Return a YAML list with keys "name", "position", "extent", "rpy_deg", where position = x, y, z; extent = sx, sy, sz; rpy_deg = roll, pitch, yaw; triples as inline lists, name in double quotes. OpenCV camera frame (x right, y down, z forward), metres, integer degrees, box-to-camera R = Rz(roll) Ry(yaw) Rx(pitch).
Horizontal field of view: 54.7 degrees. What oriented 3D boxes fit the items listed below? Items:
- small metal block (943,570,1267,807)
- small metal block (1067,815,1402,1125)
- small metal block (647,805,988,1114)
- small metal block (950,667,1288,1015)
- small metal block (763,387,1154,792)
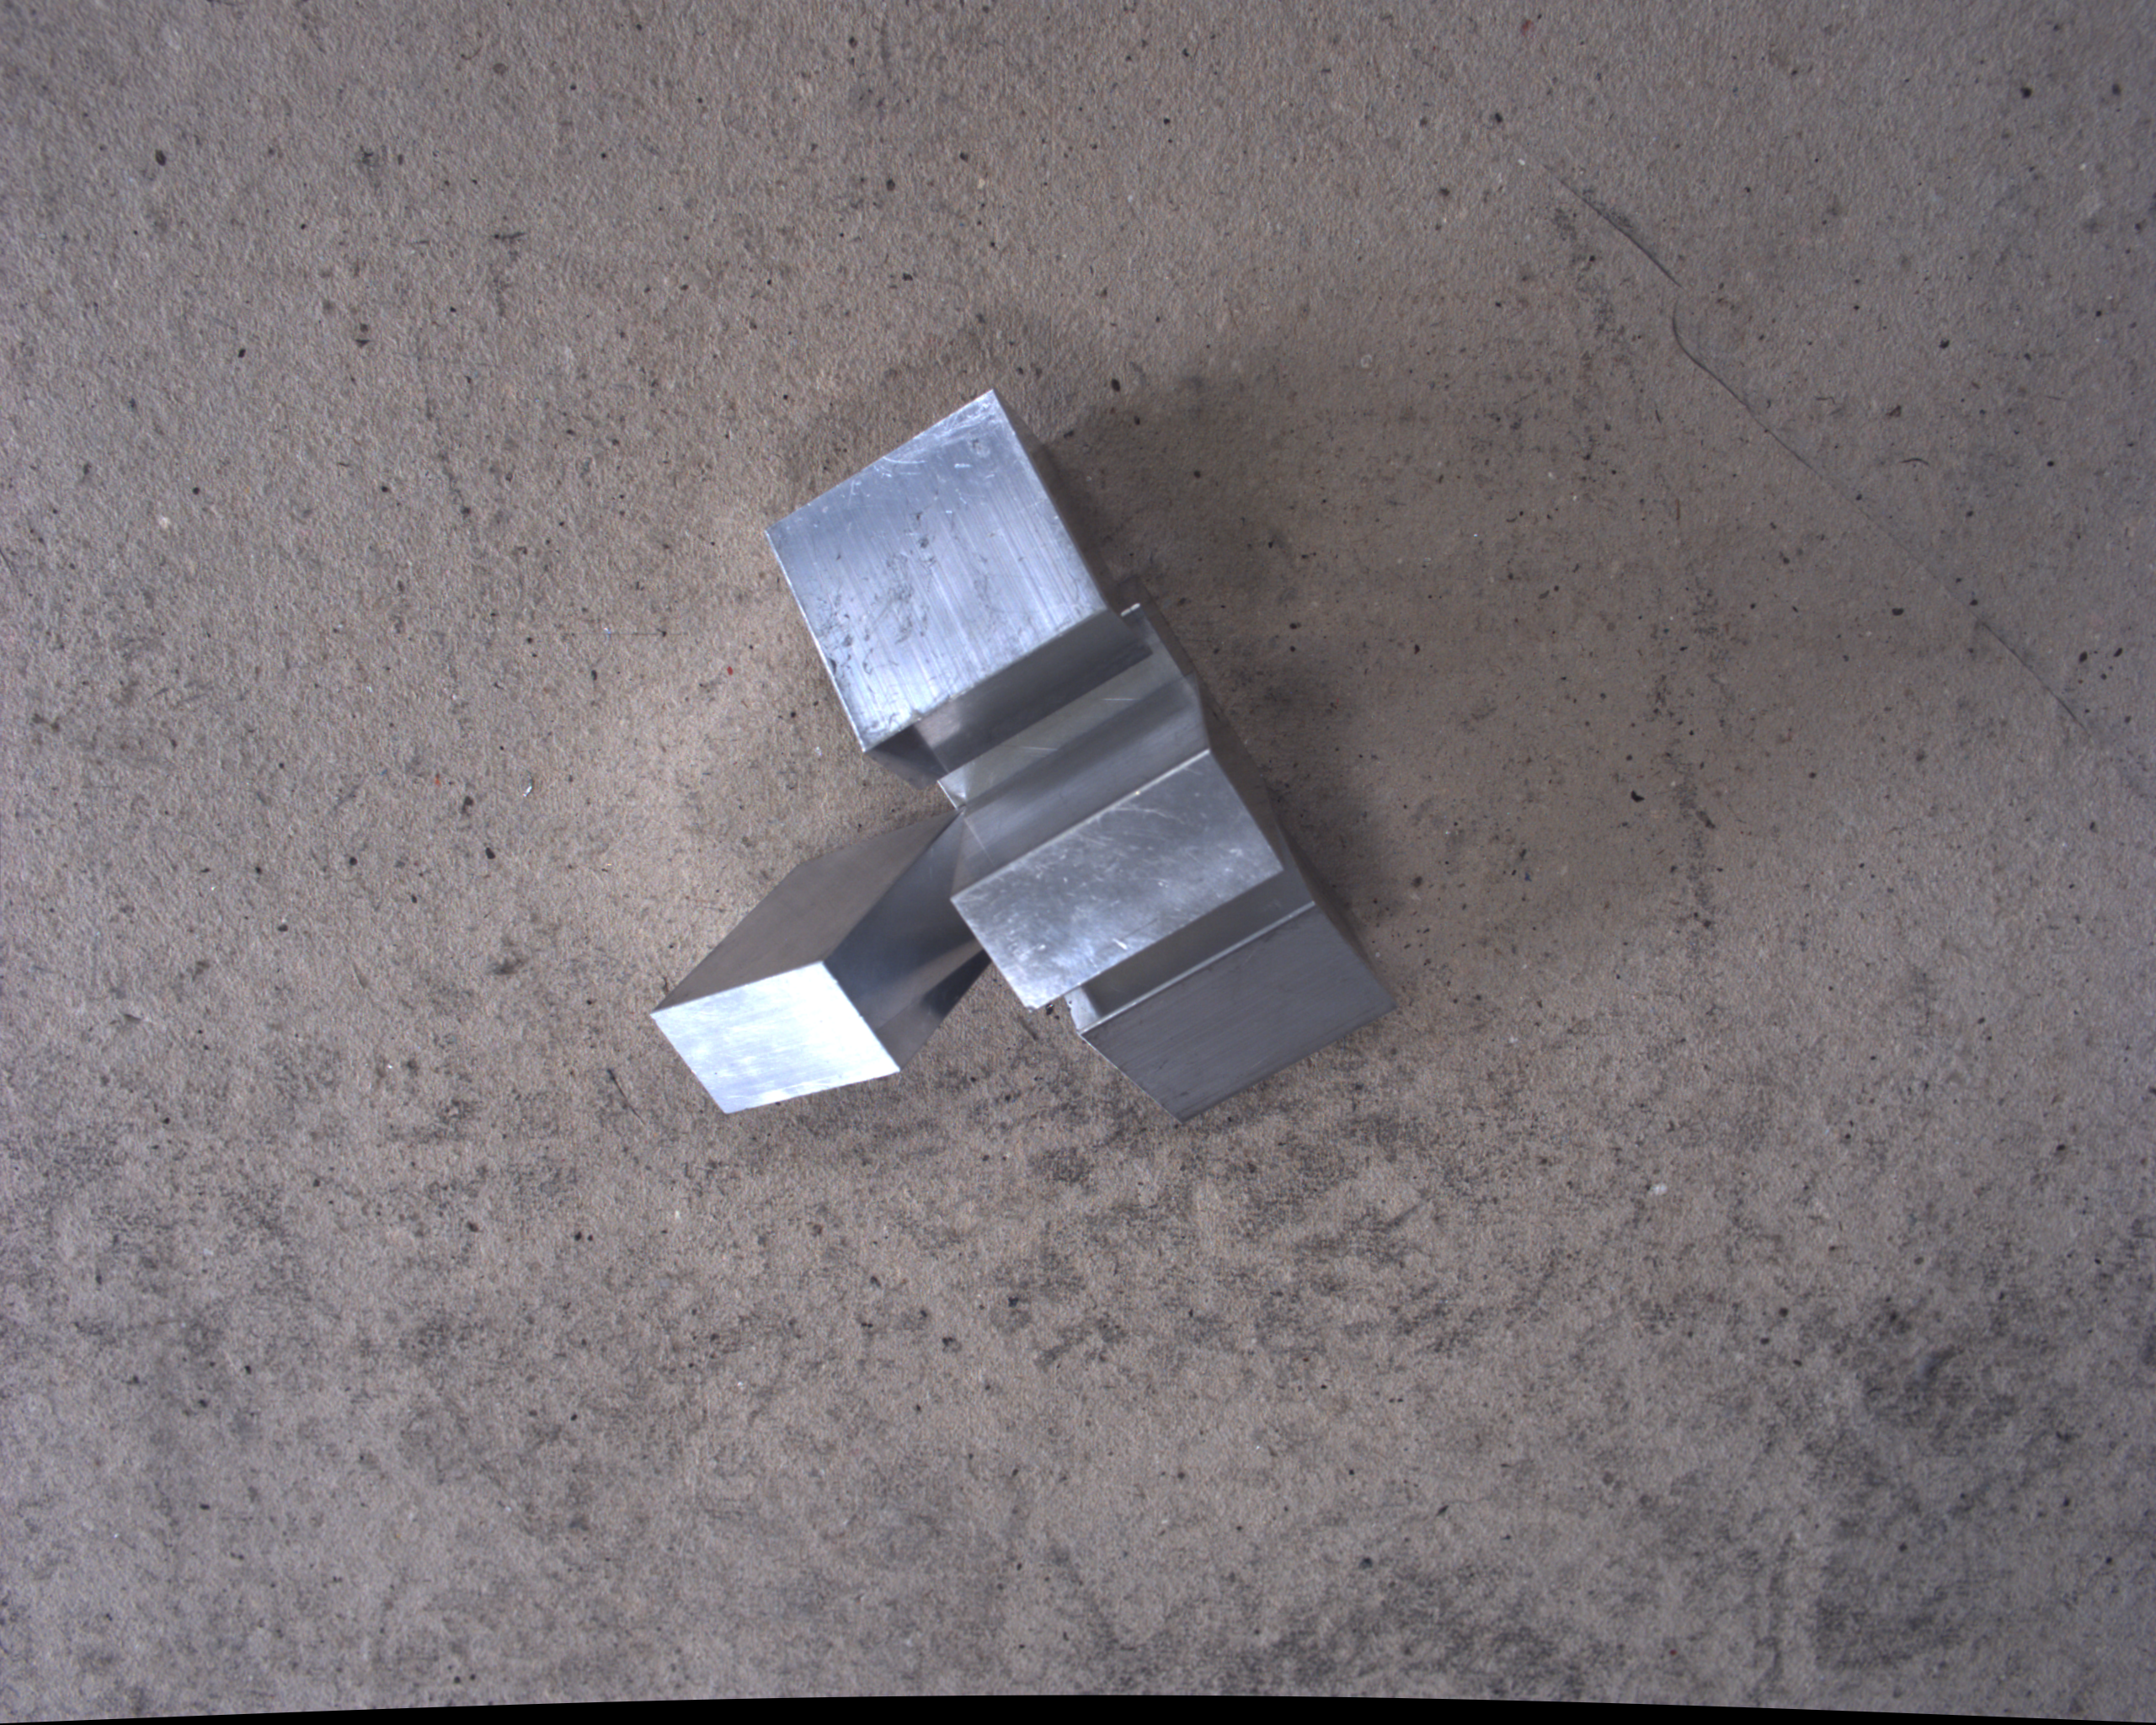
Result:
- name: "small metal block"
  position: [0.003, -0.021, 0.404]
  extent: [0.050, 0.025, 0.050]
  rpy_deg: [-29, 107, 12]
- name: "small metal block"
  position: [0.028, 0.021, 0.406]
  extent: [0.050, 0.025, 0.050]
  rpy_deg: [-30, 144, 11]
- name: "small metal block"
  position: [-0.044, 0.019, 0.394]
  extent: [0.050, 0.050, 0.025]
  rpy_deg: [-17, 114, 40]
- name: "small metal block"
  position: [0.007, -0.005, 0.369]
  extent: [0.050, 0.050, 0.025]
  rpy_deg: [-30, 108, 11]
- name: "small metal block"
  position: [-0.022, -0.049, 0.379]
  extent: [0.050, 0.025, 0.050]
  rpy_deg: [-30, 68, 10]
